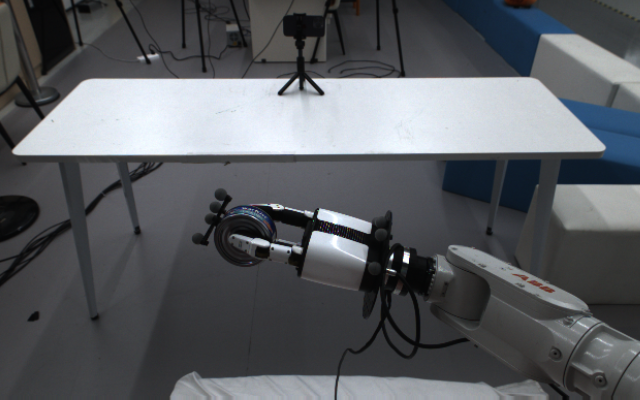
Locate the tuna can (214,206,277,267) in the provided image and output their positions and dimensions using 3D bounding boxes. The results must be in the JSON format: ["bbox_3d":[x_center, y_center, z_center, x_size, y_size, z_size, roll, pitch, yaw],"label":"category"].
[{"bbox_3d":[-0.104,0.056,0.692,0.085,0.085,0.034,3,22,2],"label":"tuna can"}]
